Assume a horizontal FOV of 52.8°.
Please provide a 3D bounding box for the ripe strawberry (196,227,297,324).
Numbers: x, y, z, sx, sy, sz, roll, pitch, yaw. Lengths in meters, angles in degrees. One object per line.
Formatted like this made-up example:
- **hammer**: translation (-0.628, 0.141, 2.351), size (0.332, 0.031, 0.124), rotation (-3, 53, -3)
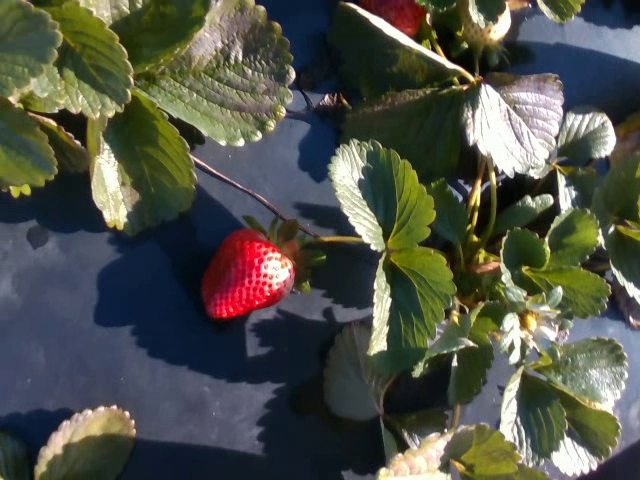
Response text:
- **ripe strawberry**: translation (-0.034, 0.017, 0.287), size (0.055, 0.042, 0.044), rotation (-42, 43, -24)
